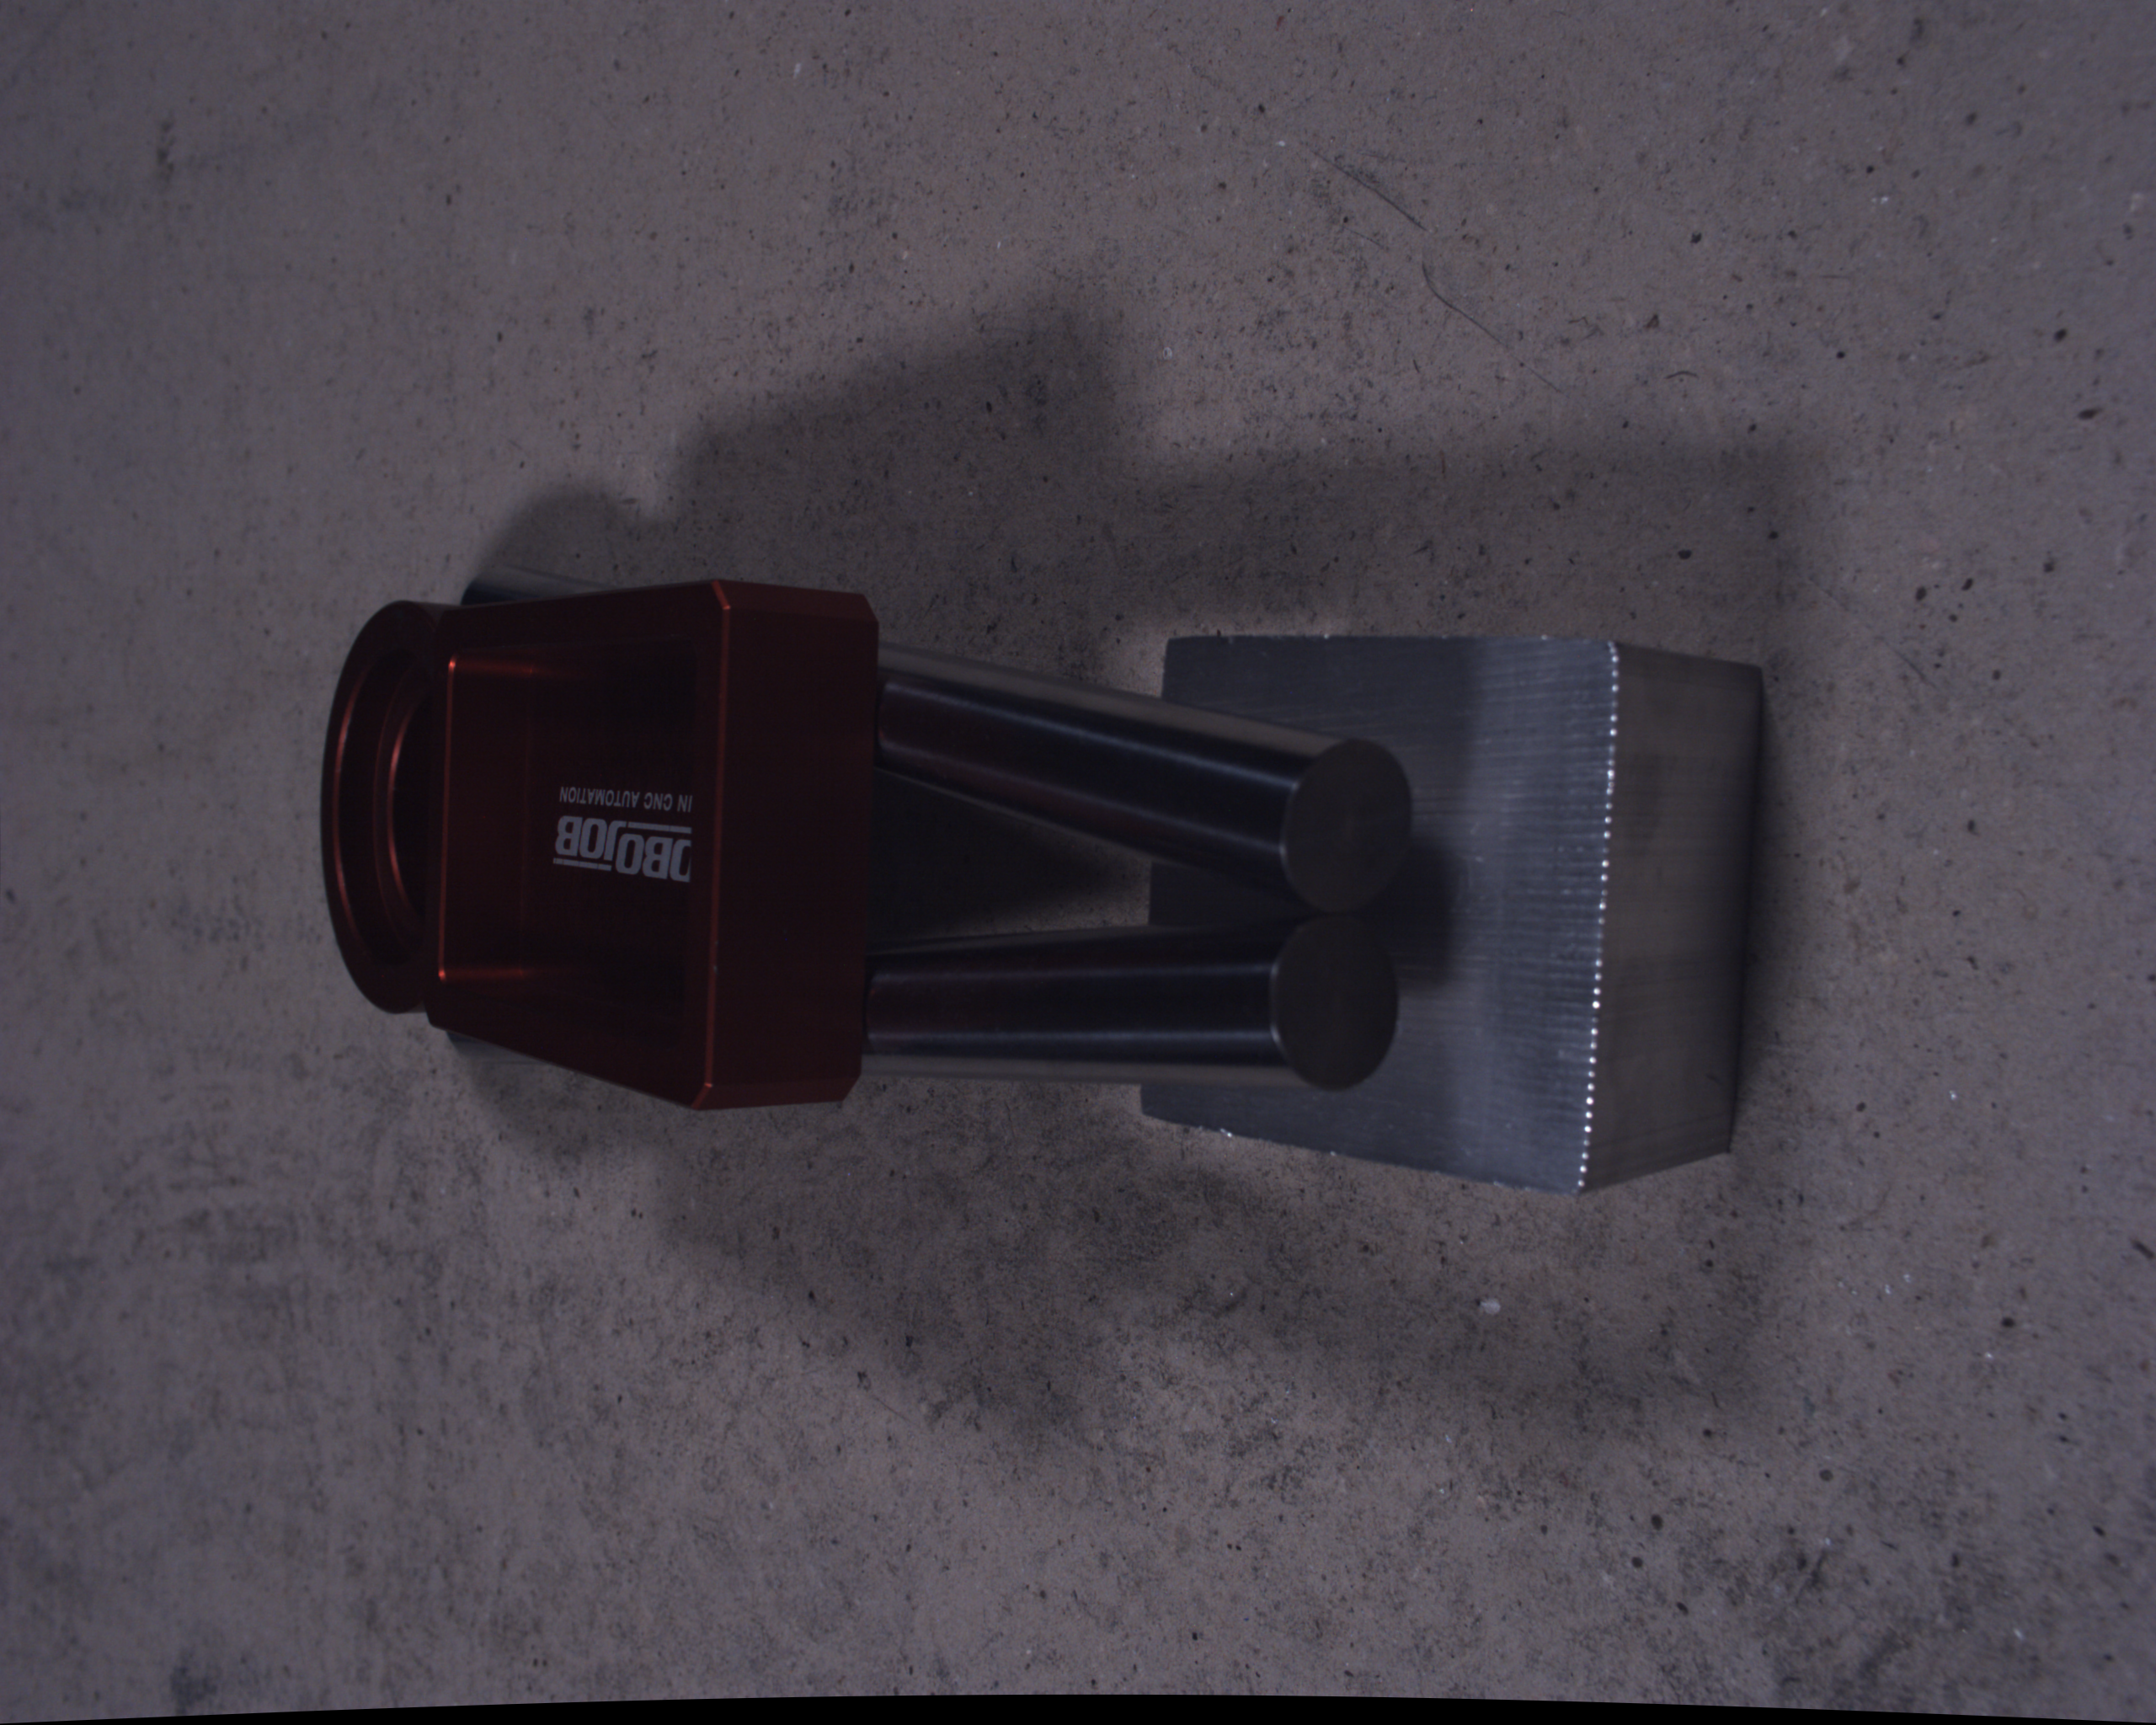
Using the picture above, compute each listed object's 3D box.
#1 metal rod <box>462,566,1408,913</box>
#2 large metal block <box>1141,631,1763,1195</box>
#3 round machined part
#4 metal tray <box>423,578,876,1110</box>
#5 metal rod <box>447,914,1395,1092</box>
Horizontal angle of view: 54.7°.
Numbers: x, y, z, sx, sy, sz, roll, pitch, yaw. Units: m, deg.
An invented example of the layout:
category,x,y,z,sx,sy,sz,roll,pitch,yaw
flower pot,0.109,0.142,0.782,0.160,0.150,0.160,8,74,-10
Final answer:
category,x,y,z,sx,sy,sz,roll,pitch,yaw
metal rod,-0.053,-0.033,0.406,0.300,0.025,0.025,18,101,51
large metal block,0.059,0.004,0.338,0.080,0.050,0.079,5,93,39
round machined part,-0.146,-0.013,0.505,0.098,0.042,0.097,-1,89,50
metal tray,-0.088,-0.006,0.406,0.130,0.030,0.089,5,93,52
metal rod,-0.056,0.029,0.409,0.299,0.025,0.025,-6,86,52
